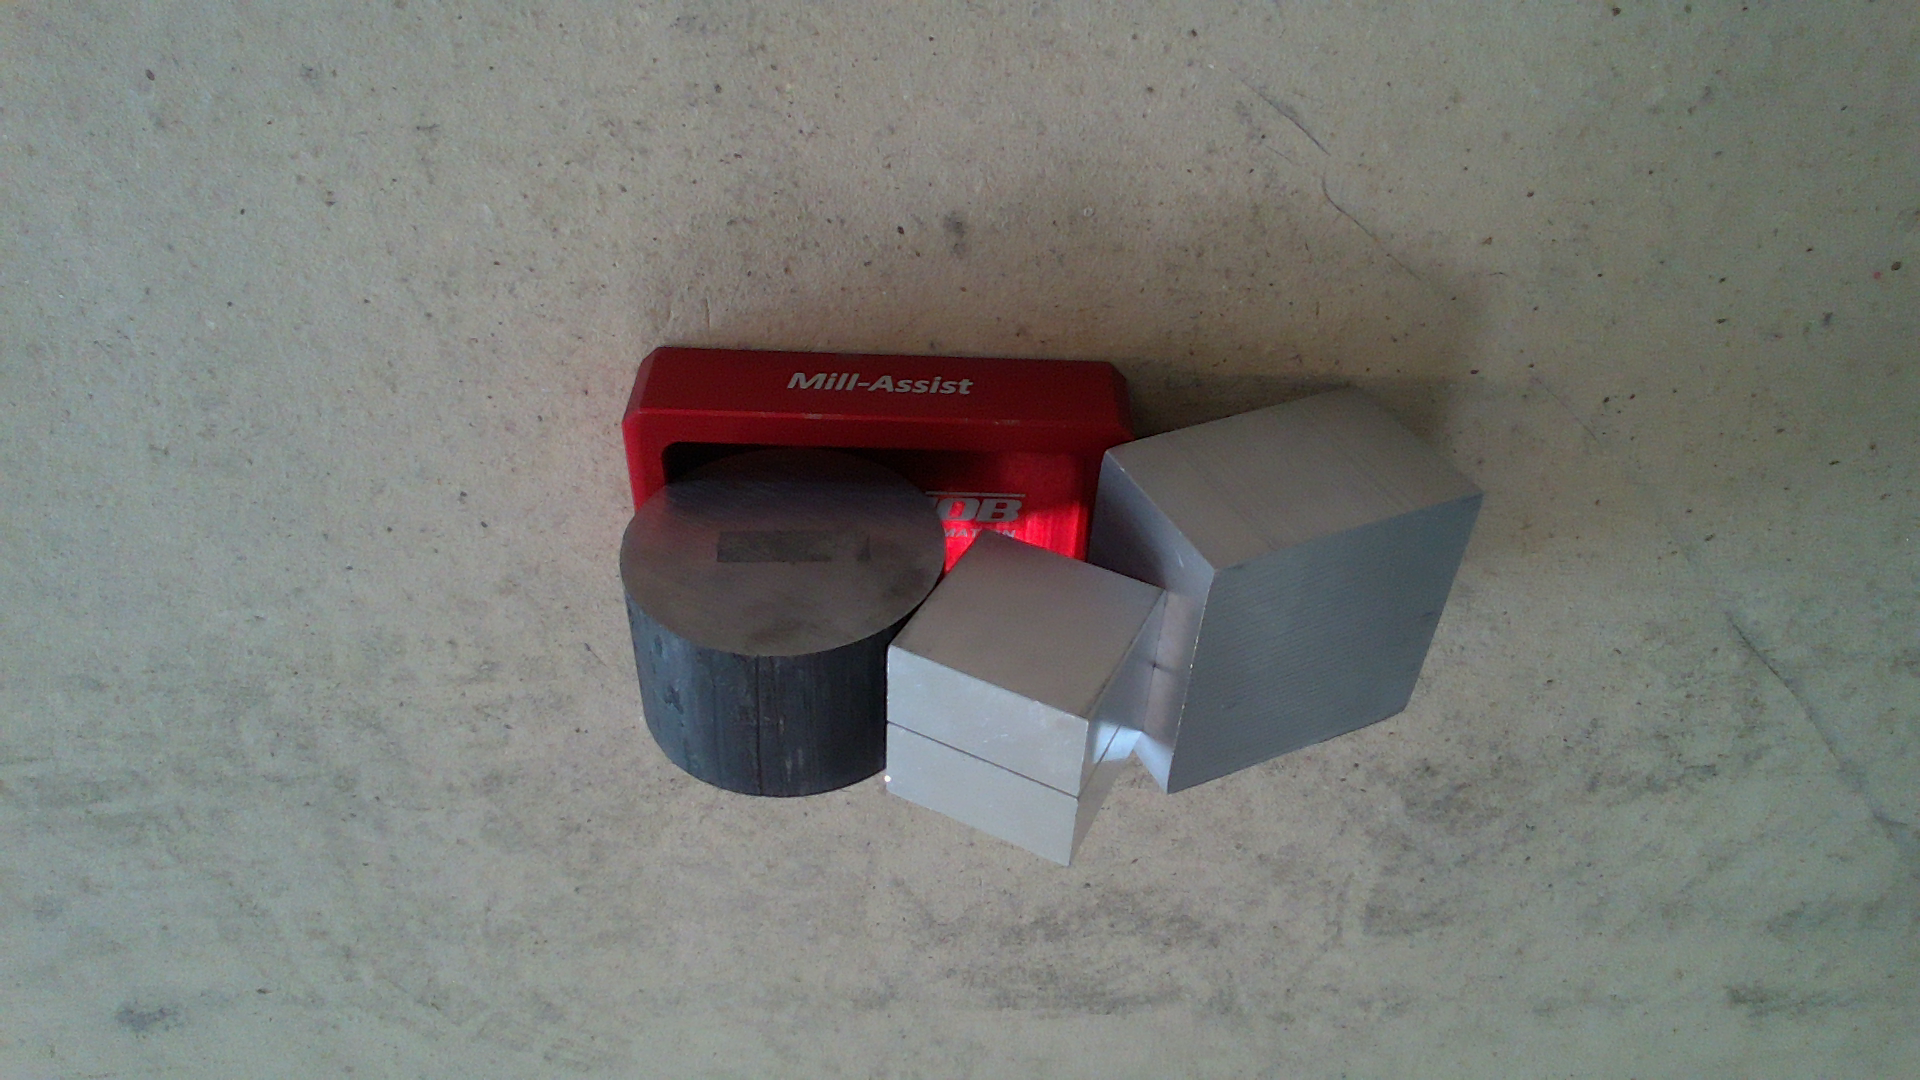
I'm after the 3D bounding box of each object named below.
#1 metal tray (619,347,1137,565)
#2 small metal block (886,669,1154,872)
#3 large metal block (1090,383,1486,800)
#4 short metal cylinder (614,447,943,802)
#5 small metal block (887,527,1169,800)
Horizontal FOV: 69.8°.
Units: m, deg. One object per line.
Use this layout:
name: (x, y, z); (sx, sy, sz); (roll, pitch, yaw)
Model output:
metal tray: (-0.022, -0.006, 0.382); (0.130, 0.030, 0.090); (2, 130, -2)
small metal block: (0.015, 0.048, 0.346); (0.050, 0.050, 0.025); (19, 131, 19)
large metal block: (0.081, 0.013, 0.367); (0.080, 0.050, 0.080); (-15, 134, -22)
short metal cylinder: (-0.044, 0.020, 0.354); (0.080, 0.080, 0.050); (1, 130, -1)
small metal block: (0.016, 0.028, 0.329); (0.050, 0.050, 0.025); (19, 131, 19)
